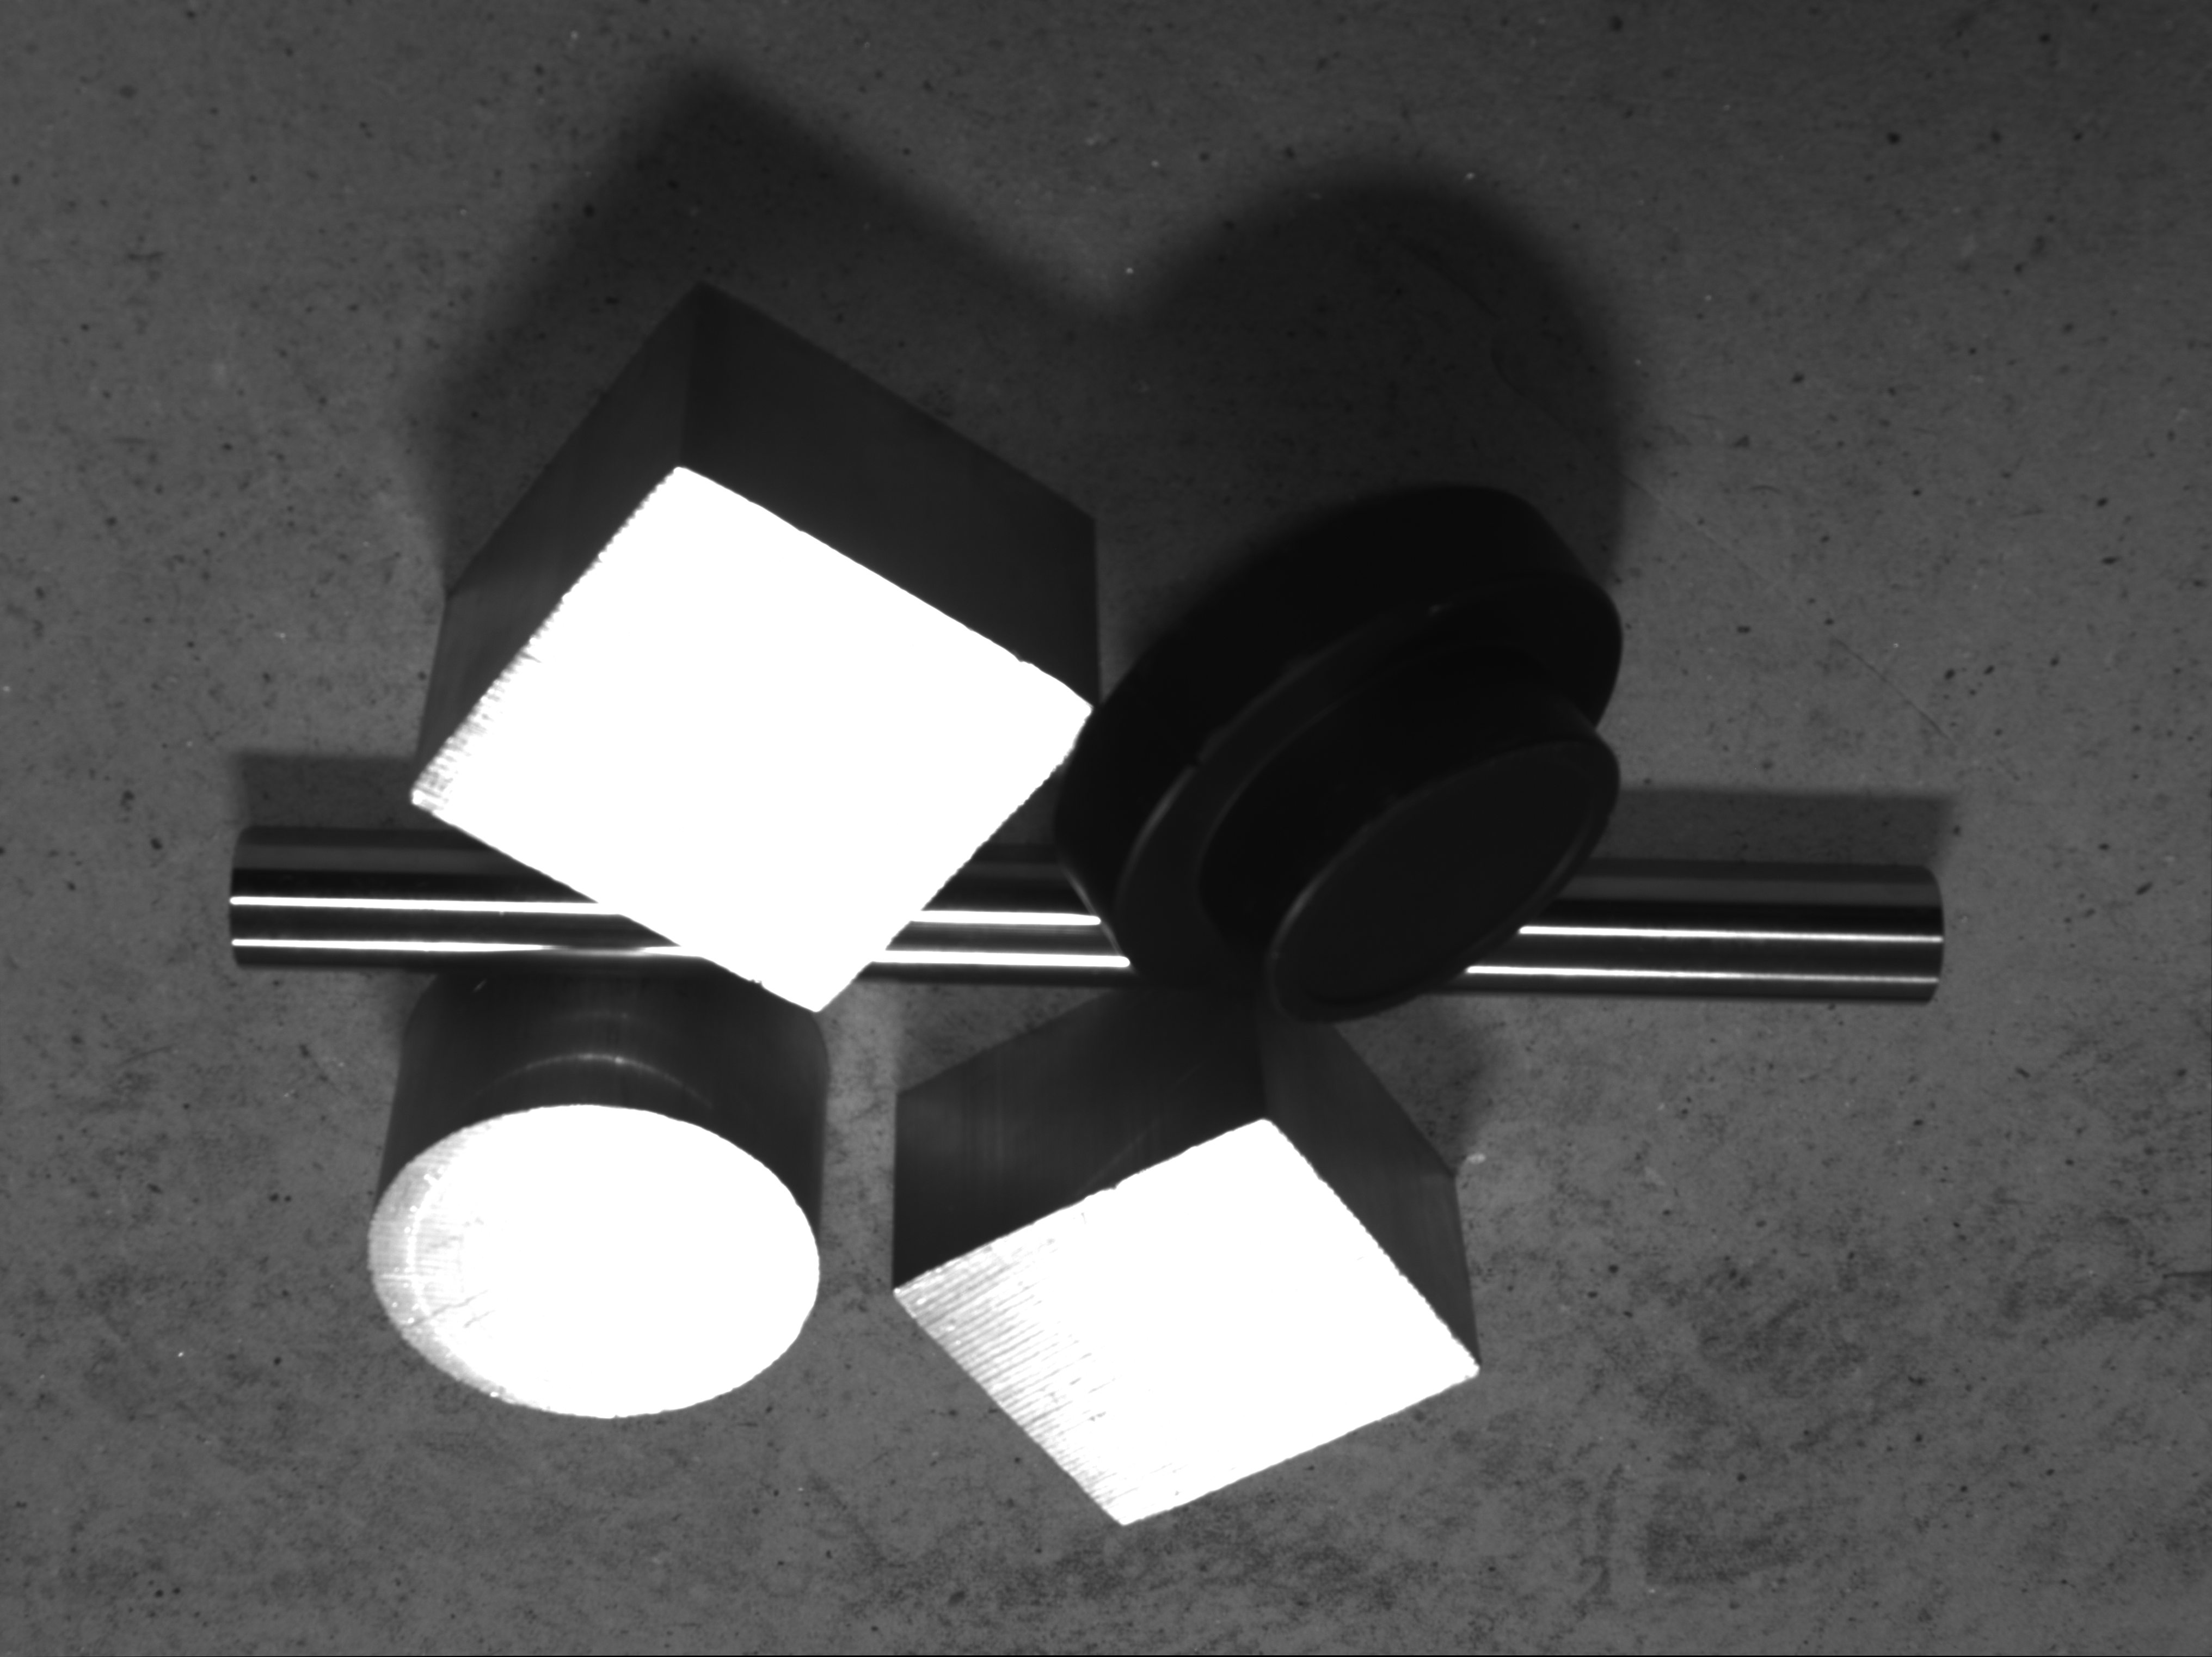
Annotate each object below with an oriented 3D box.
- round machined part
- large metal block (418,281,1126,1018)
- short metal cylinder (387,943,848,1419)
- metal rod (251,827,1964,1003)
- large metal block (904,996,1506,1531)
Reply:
[{"bbox_3d":[0.046,-0.005,0.594,0.098,0.042,0.098,-24,150,-15],"label":"round machined part"},{"bbox_3d":[-0.053,-0.027,0.595,0.080,0.050,0.080,30,123,-24],"label":"large metal block"},{"bbox_3d":[-0.088,0.063,0.672,0.080,0.050,0.080,-1,130,-1],"label":"short metal cylinder"},{"bbox_3d":[0.002,0.016,0.653,0.300,0.025,0.025,1,130,-3],"label":"metal rod"},{"bbox_3d":[0.018,0.076,0.687,0.080,0.050,0.080,-26,126,19],"label":"large metal block"}]
